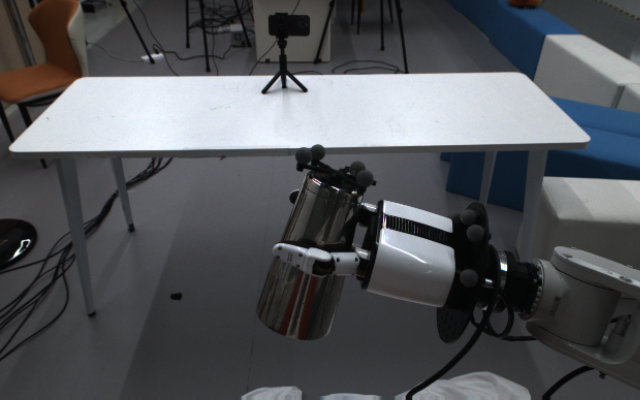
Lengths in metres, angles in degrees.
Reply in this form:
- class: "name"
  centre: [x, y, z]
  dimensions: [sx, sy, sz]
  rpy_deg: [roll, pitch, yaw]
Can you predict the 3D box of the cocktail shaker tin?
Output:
- class: "cocktail shaker tin"
  centre: [-0.006, 0.058, 0.541]
  dimensions: [0.093, 0.170, 0.093]
  rpy_deg: [15, 17, -5]
